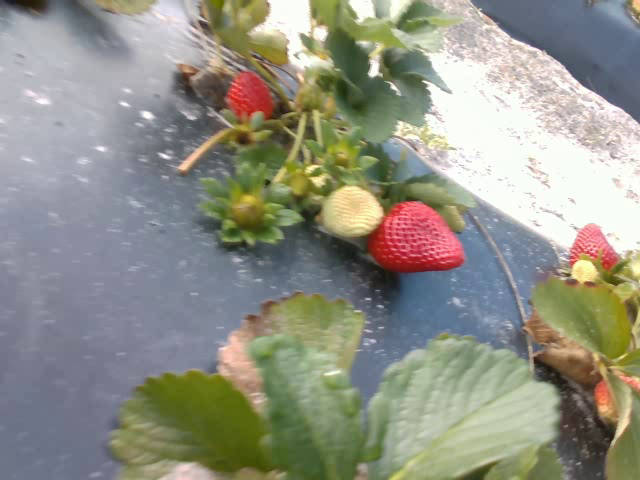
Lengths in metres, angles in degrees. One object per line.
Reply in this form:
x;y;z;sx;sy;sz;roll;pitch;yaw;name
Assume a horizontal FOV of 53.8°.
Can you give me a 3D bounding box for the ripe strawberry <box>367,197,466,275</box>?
0.058;0.002;0.346;0.051;0.048;0.055;-32;33;-17;ripe strawberry
